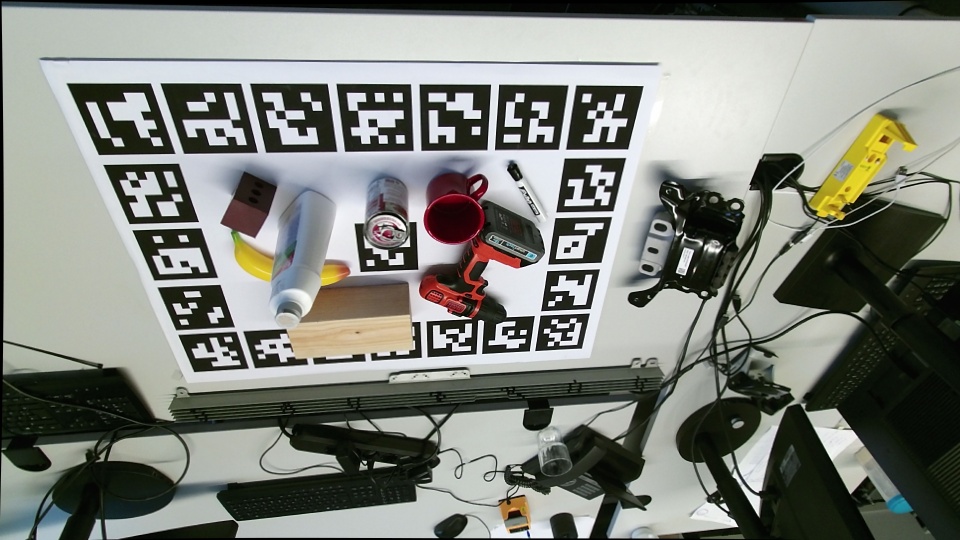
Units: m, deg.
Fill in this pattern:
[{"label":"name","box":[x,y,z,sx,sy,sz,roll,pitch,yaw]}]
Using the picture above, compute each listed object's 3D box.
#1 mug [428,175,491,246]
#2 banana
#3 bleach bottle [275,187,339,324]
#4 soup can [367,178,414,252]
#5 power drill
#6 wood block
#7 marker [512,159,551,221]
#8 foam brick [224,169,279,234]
[{"label":"mug","box":[-0.027,-0.102,0.832,0.117,0.081,0.093,-42,120,18]},{"label":"banana","box":[-0.303,0.006,0.898,0.198,0.039,0.074,12,111,-15]},{"label":"bleach bottle","box":[-0.251,-0.015,0.759,0.068,0.249,0.102,23,122,-25]},{"label":"soup can","box":[-0.133,-0.085,0.809,0.068,0.101,0.068,-4,132,-4]},{"label":"power drill","box":[0.011,0.001,0.941,0.185,0.057,0.187,24,121,-21]},{"label":"wood block","box":[-0.224,0.087,0.945,0.207,0.090,0.090,-3,127,-6]},{"label":"marker","box":[0.084,-0.129,0.871,0.020,0.019,0.121,-28,126,9]},{"label":"foam brick","box":[-0.338,-0.102,0.790,0.053,0.077,0.051,26,121,-28]}]
